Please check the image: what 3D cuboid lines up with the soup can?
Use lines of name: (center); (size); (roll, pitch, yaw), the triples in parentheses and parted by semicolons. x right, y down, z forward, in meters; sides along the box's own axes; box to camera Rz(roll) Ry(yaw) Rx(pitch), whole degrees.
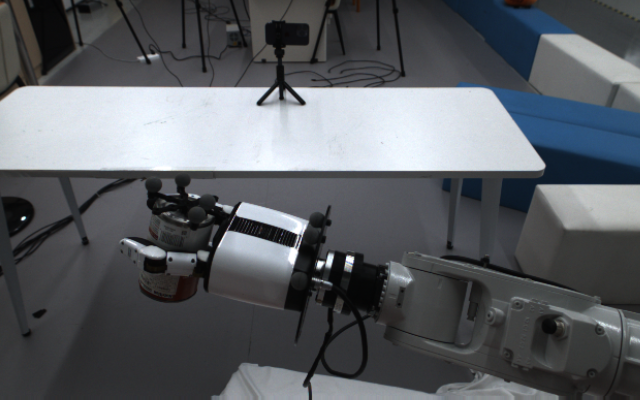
soup can: (-0.159, 0.055, 0.541); (0.067, 0.101, 0.067); (17, 22, -7)
